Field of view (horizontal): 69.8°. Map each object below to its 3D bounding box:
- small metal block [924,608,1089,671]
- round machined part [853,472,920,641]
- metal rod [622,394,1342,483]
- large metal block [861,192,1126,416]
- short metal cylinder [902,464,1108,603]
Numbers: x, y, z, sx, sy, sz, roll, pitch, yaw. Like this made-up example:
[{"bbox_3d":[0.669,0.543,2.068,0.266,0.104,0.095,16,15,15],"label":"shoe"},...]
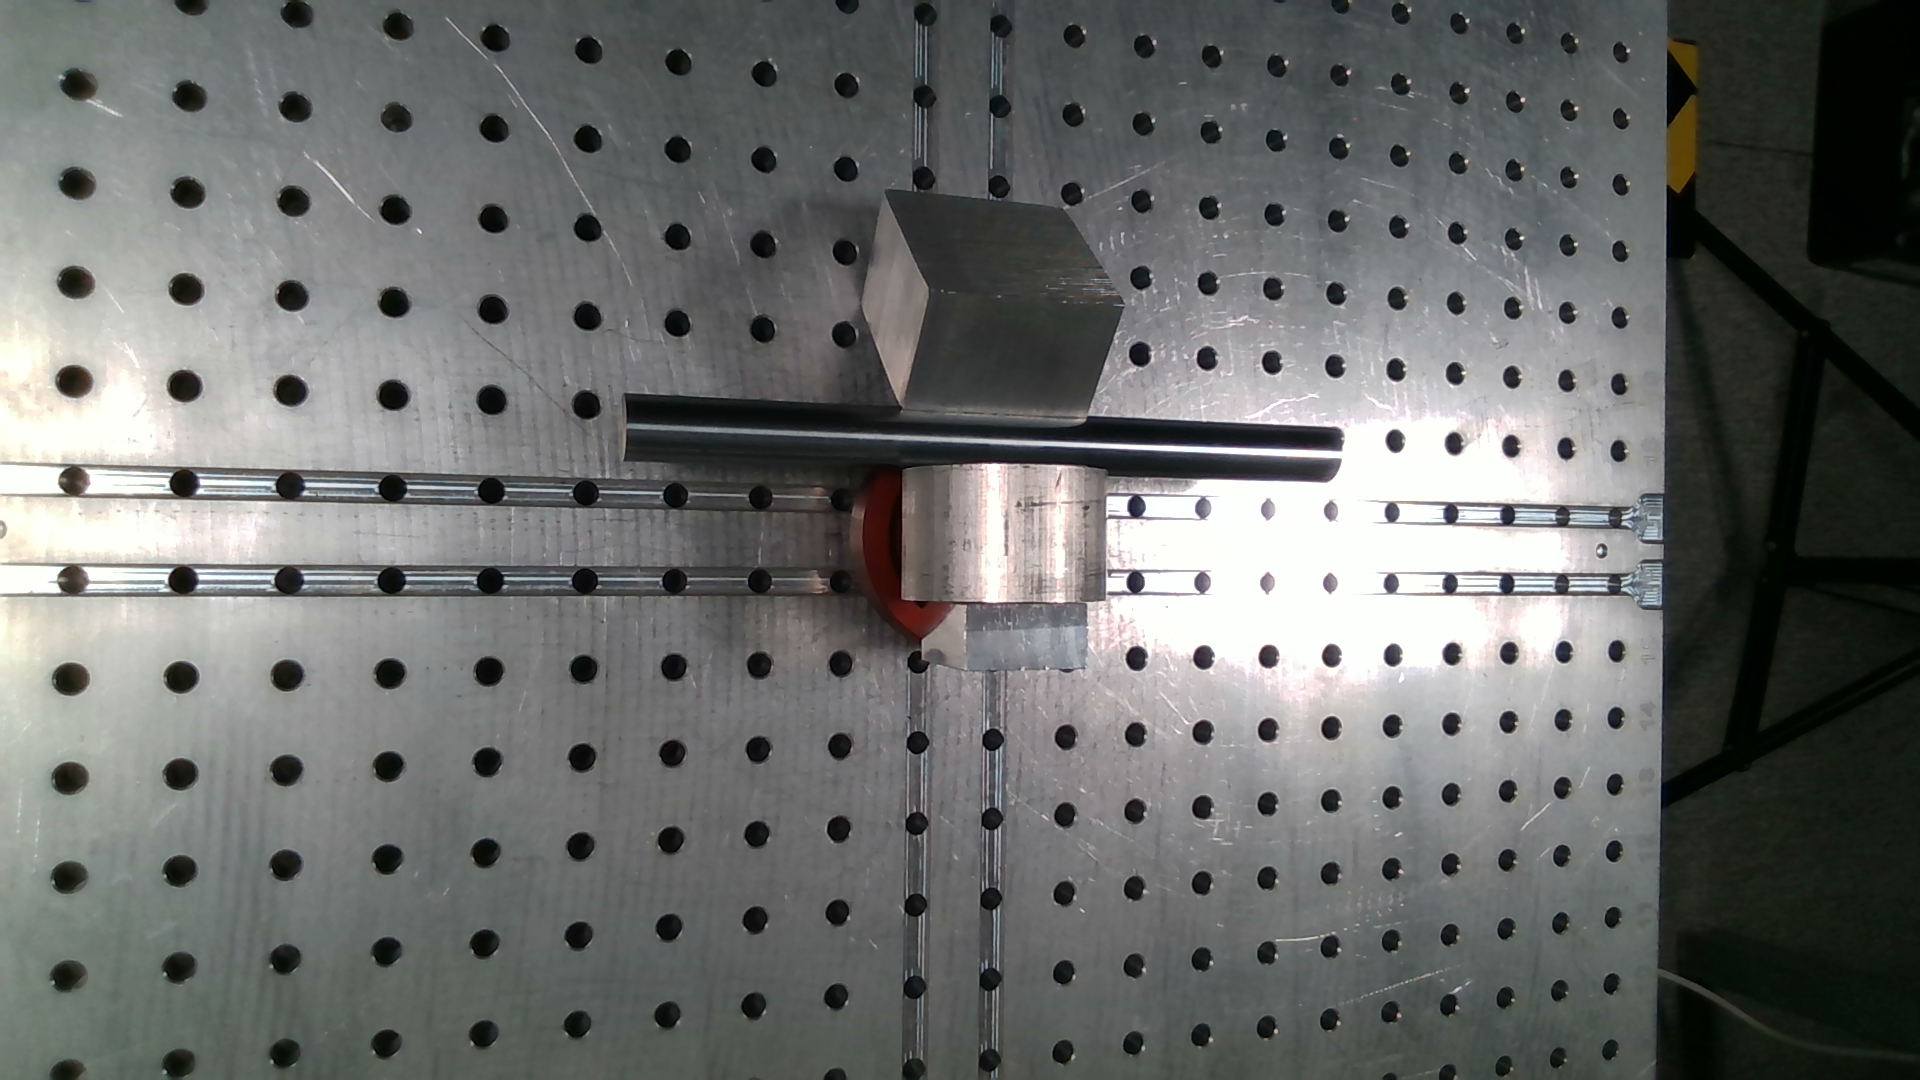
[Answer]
[{"bbox_3d":[0.017,0.036,0.536,0.050,0.050,0.025,1,90,-20],"label":"small metal block"},{"bbox_3d":[0.001,-0.001,0.578,0.098,0.042,0.098,0,90,-20],"label":"round machined part"},{"bbox_3d":[0.019,-0.039,0.551,0.300,0.025,0.025,1,90,-20],"label":"metal rod"},{"bbox_3d":[0.010,-0.095,0.556,0.080,0.080,0.050,1,131,-20],"label":"large metal block"},{"bbox_3d":[0.018,-0.002,0.533,0.080,0.080,0.050,1,90,-20],"label":"short metal cylinder"}]
